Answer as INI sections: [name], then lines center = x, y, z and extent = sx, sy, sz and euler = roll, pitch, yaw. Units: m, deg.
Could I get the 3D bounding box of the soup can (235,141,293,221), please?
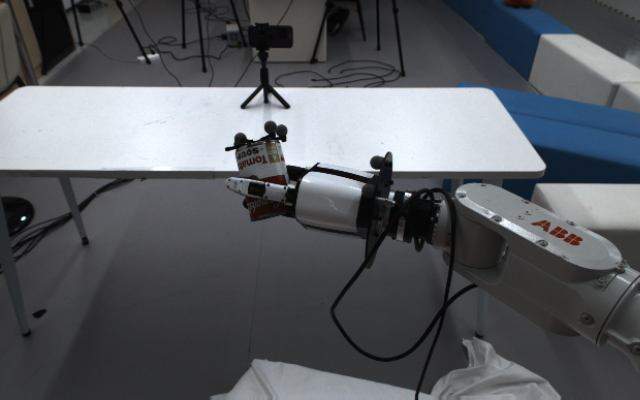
[soup can]
center = -0.076, -0.026, 0.682
extent = 0.067, 0.101, 0.067
euler = -14, -2, -1
